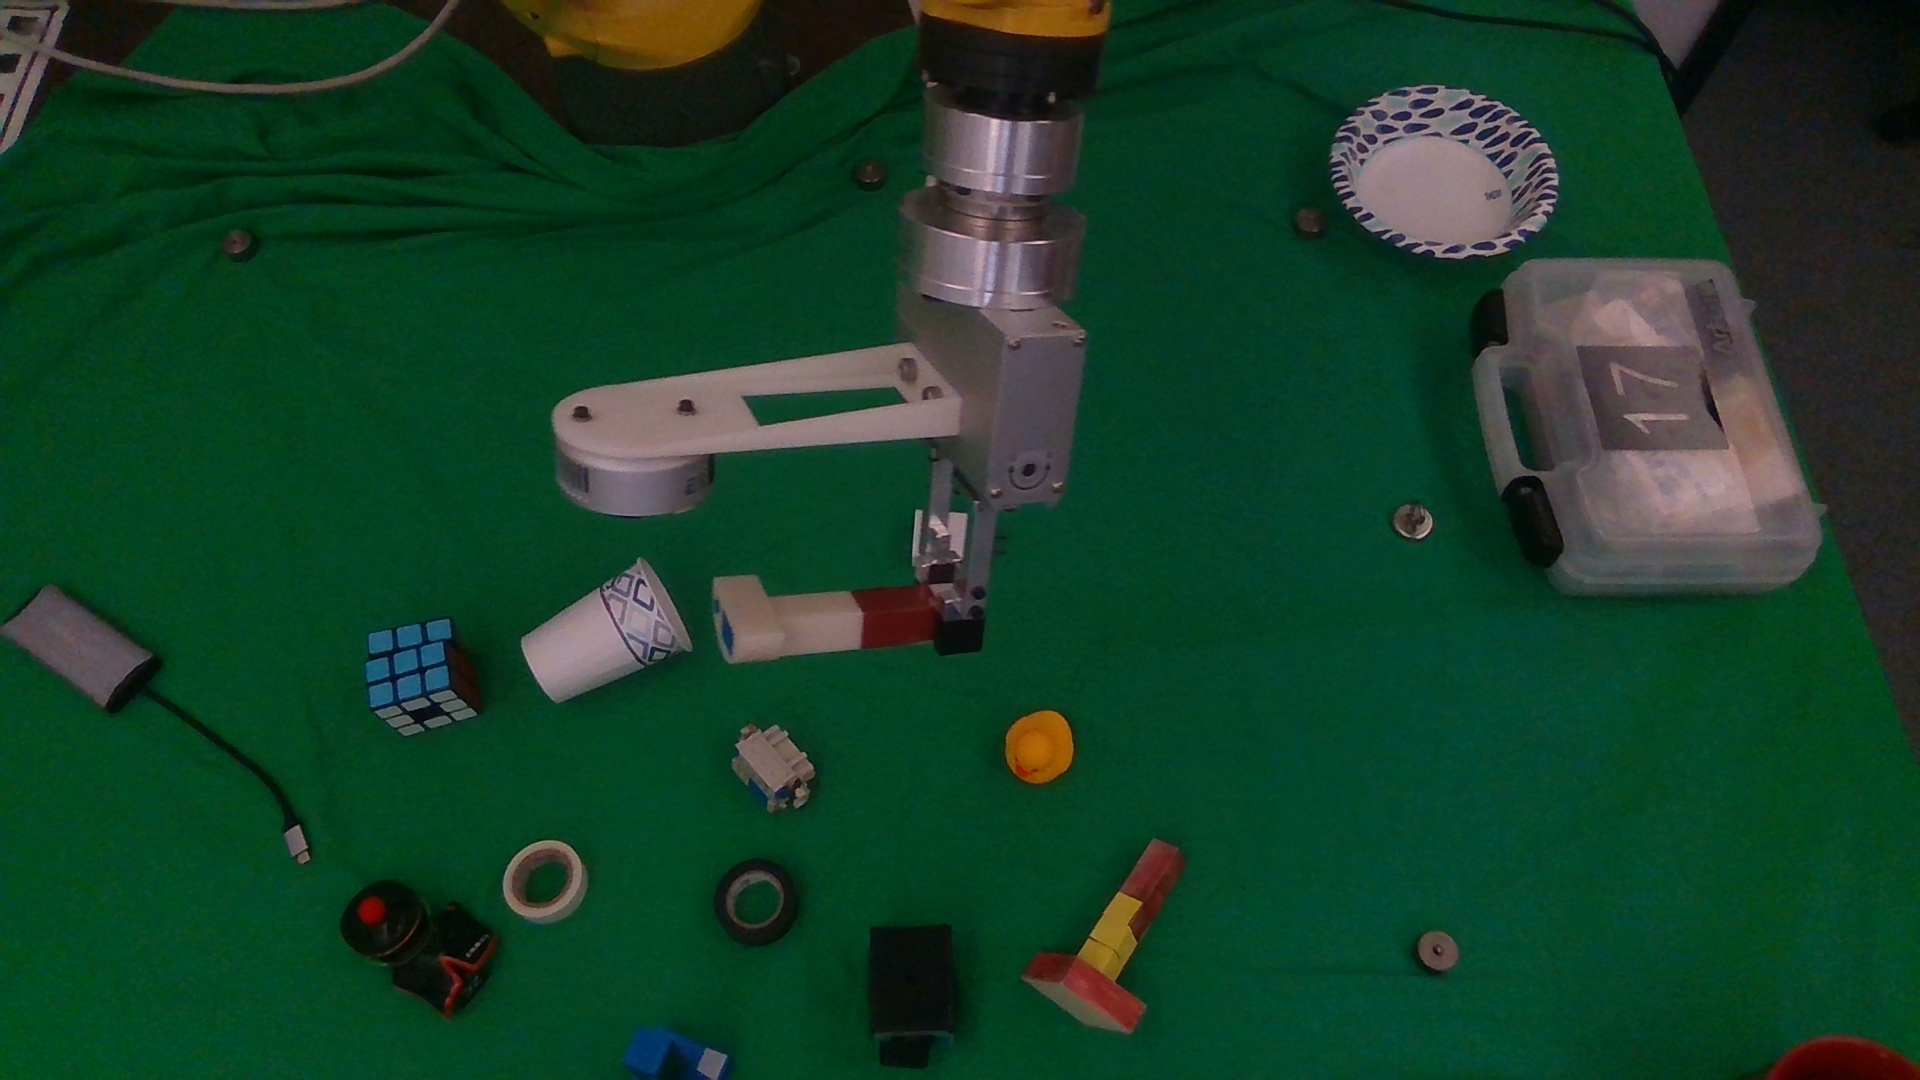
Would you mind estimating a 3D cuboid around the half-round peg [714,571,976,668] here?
[{"bbox_3d":[-0.049,0.035,0.638,0.121,0.031,0.054,-4,32,-22],"label":"half-round peg"}]

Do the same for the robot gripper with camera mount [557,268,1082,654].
[{"bbox_3d":[-0.068,-0.014,0.592,0.193,0.158,0.119,-9,33,-21],"label":"robot gripper with camera mount"}]
